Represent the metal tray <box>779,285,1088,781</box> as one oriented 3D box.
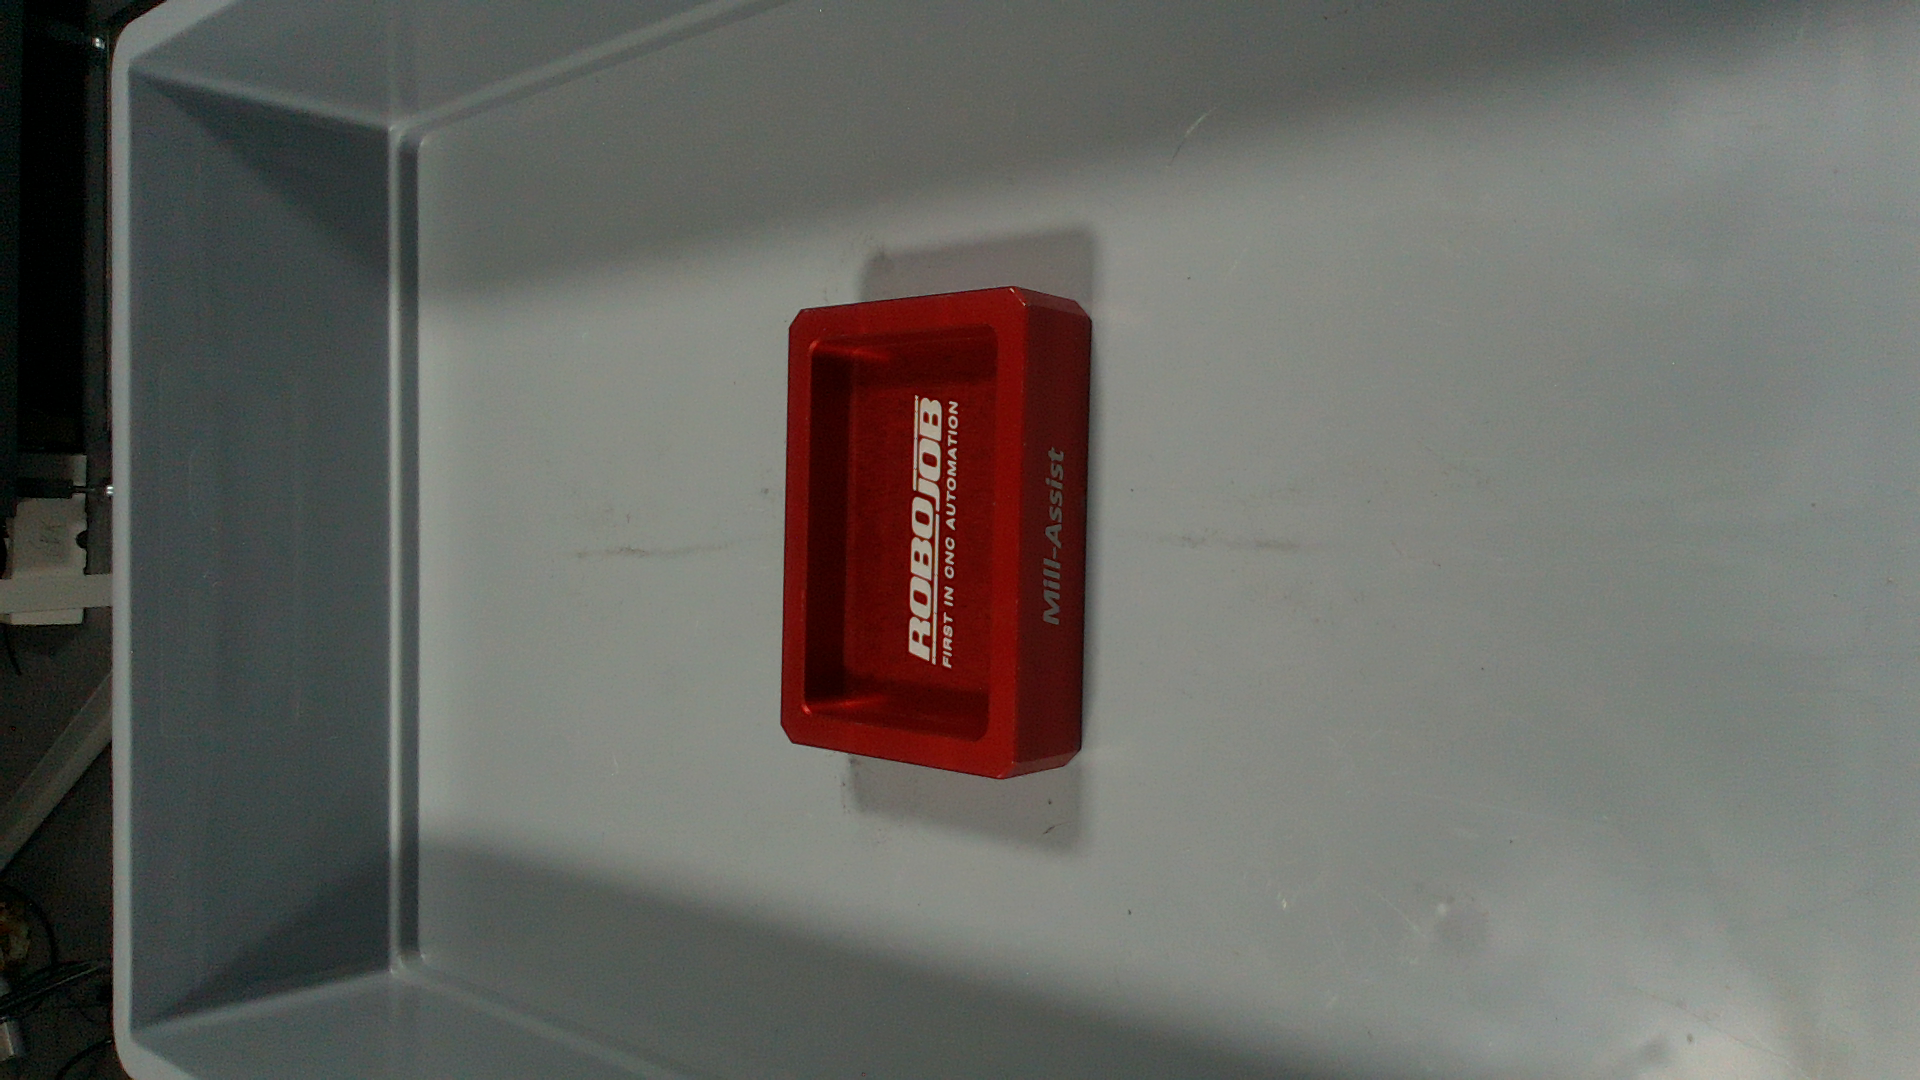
[{"bbox_3d":[-0.010,-0.003,0.396,0.090,0.030,0.130,2,91,40],"label":"metal tray"}]
